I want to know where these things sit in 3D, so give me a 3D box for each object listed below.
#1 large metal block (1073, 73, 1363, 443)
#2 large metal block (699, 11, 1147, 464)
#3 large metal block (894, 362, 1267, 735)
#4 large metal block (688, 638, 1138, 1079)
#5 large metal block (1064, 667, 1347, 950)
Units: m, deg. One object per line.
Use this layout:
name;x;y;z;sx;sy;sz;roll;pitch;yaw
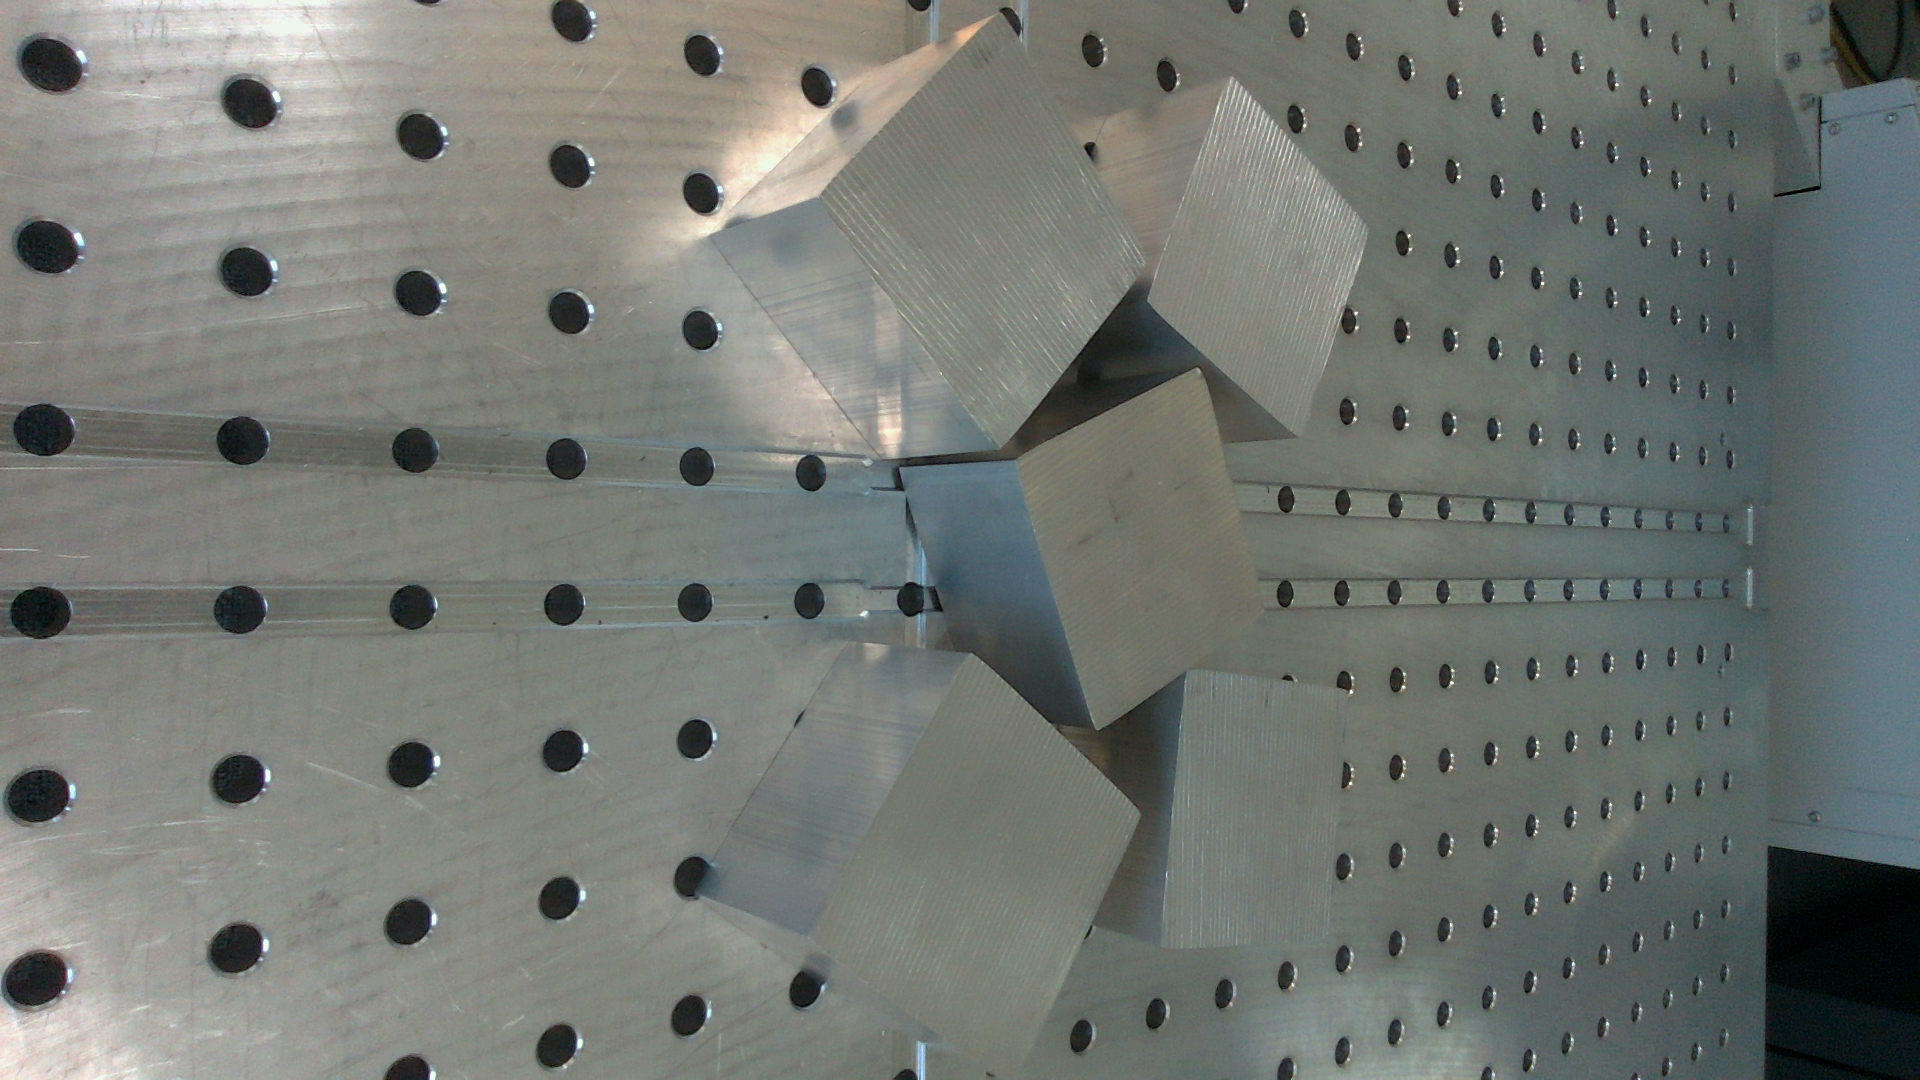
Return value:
large metal block;0.077;-0.085;0.438;0.080;0.050;0.080;33;69;-38
large metal block;-0.007;-0.078;0.369;0.080;0.050;0.080;-51;119;-27
large metal block;0.038;0.001;0.406;0.080;0.050;0.080;-28;108;-36
large metal block;-0.010;0.083;0.365;0.080;0.050;0.080;45;63;-30
large metal block;0.075;0.083;0.438;0.080;0.050;0.080;12;82;-40
